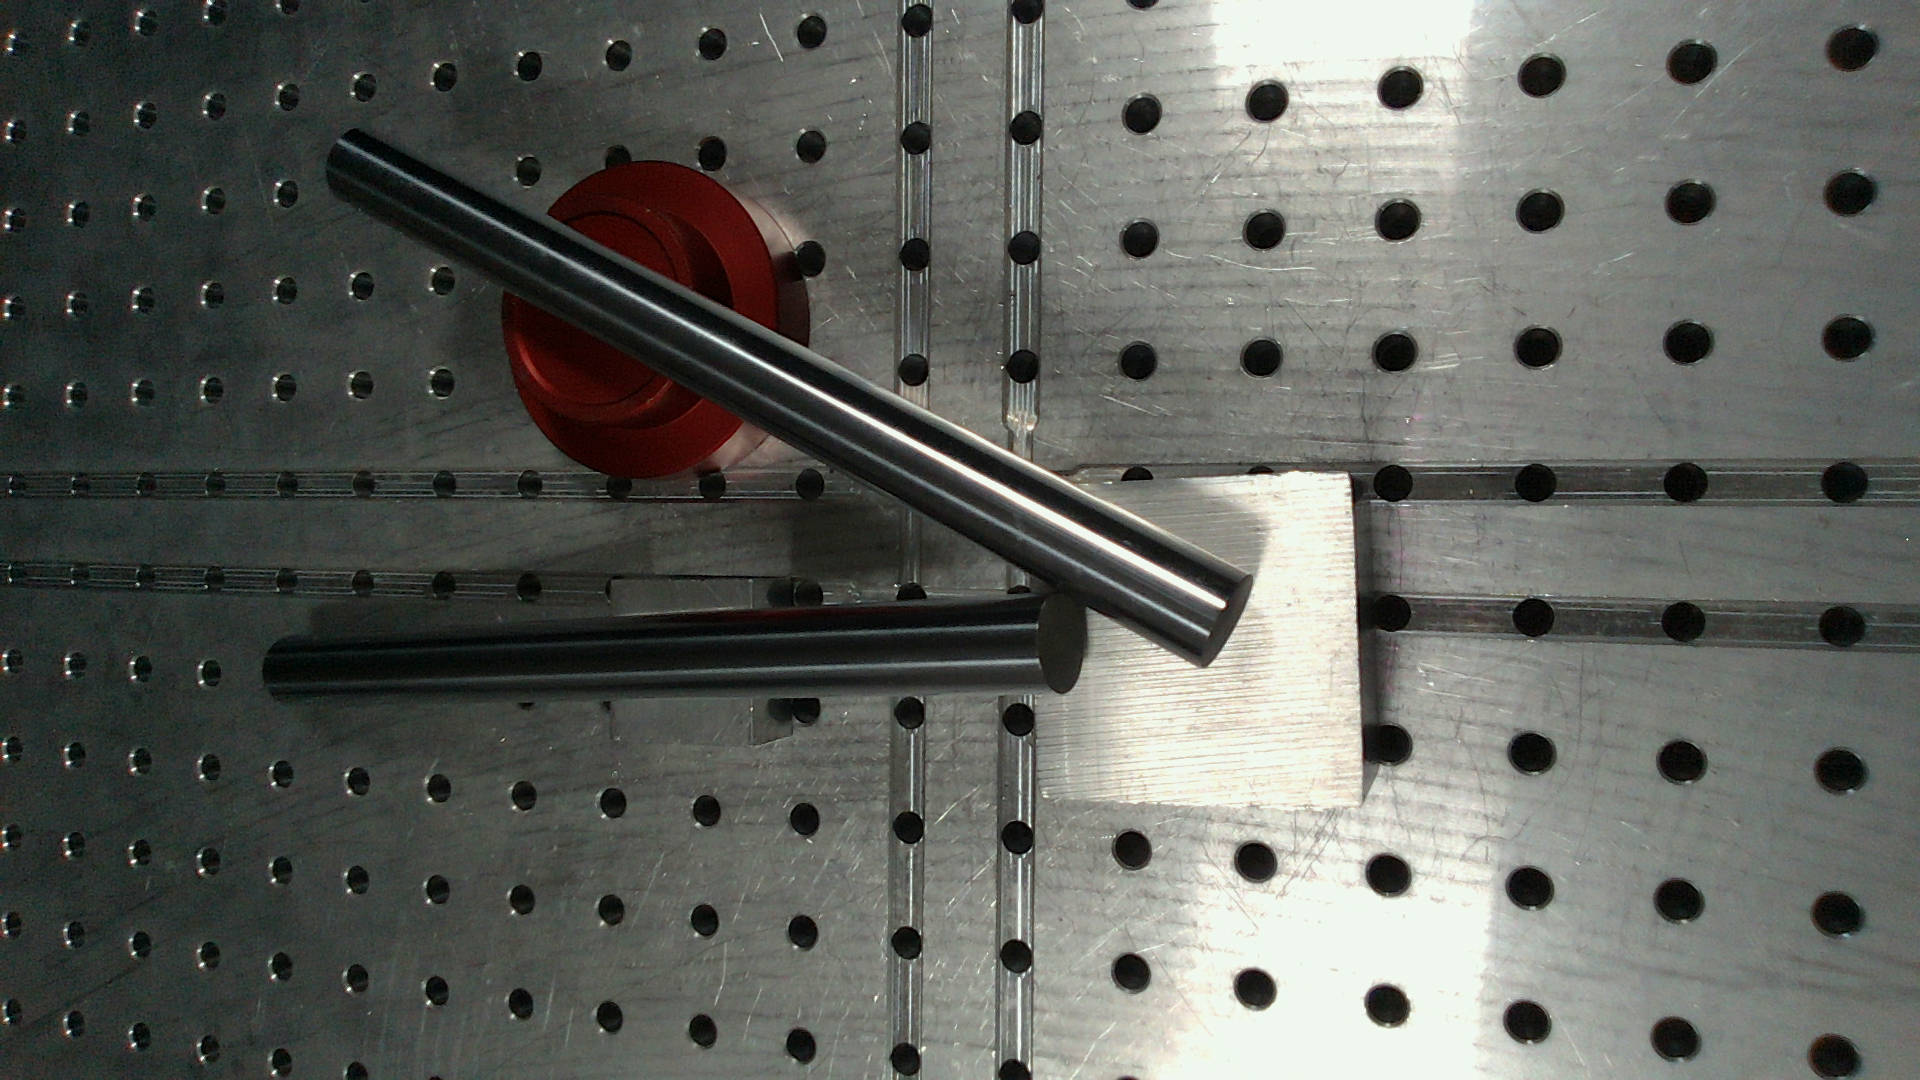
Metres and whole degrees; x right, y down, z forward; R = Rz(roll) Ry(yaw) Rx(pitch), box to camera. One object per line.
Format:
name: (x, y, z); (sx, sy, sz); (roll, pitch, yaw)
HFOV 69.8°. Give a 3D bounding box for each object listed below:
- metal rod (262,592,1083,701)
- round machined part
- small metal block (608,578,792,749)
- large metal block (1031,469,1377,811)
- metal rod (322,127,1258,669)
metal rod: (-0.104, 0.035, 0.407); (0.299, 0.025, 0.025); (-4, 89, 30)
round machined part: (-0.101, -0.068, 0.425); (0.098, 0.042, 0.098); (0, 90, 20)
small metal block: (-0.081, 0.037, 0.428); (0.050, 0.025, 0.050); (-1, 90, 20)
large metal block: (0.064, 0.025, 0.359); (0.080, 0.050, 0.080); (-2, 89, 20)
metal rod: (-0.061, -0.048, 0.369); (0.299, 0.025, 0.025); (28, 99, 20)
